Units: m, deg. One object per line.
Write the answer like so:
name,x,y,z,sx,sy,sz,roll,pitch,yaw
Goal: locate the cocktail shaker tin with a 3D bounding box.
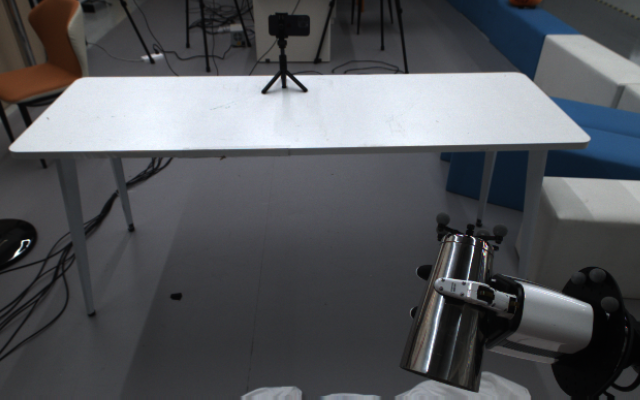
cocktail shaker tin,0.163,0.132,0.586,0.093,0.093,0.170,13,70,15
